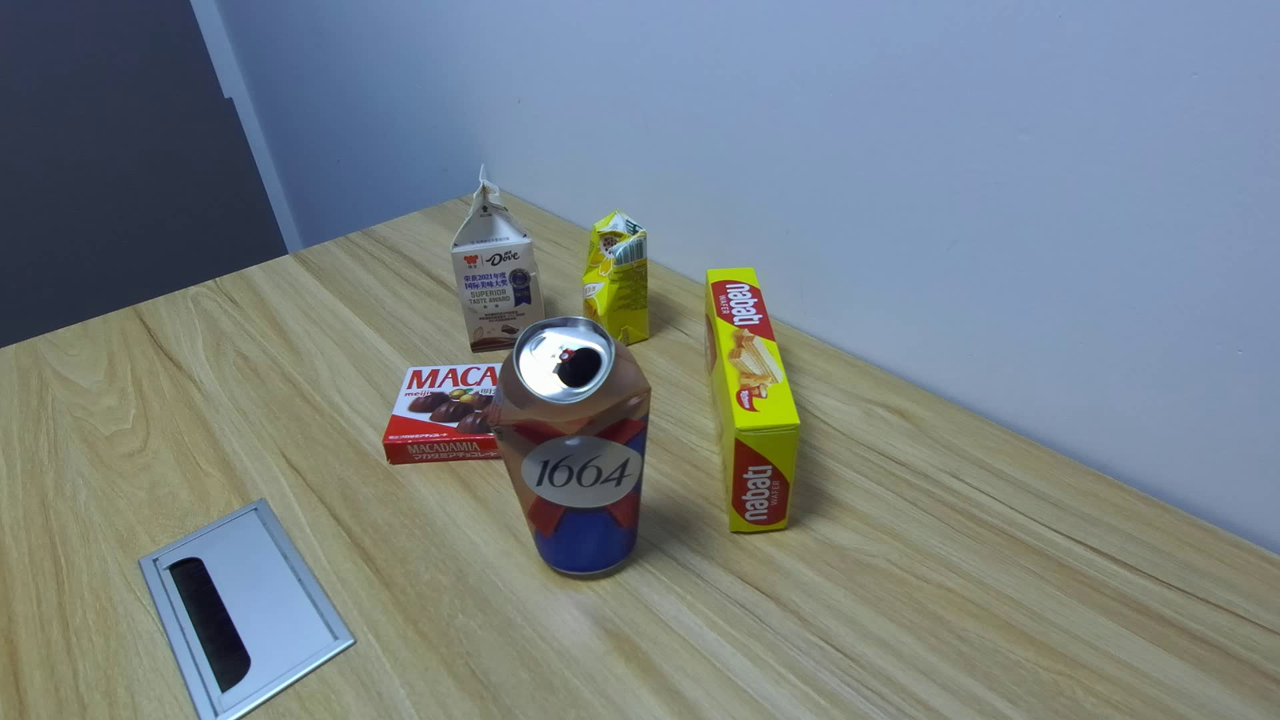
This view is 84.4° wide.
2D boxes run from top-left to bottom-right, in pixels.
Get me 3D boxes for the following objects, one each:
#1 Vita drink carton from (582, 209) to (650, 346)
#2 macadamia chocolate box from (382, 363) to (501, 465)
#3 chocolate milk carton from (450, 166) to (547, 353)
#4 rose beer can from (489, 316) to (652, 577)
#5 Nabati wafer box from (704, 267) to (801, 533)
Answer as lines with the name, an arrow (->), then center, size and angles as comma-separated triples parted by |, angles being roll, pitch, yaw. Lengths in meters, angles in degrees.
Vita drink carton -> -0.025, -0.074, 0.643 | 0.046, 0.110, 0.071 | -16, 36, -21
macadamia chocolate box -> -0.101, 0.039, 0.567 | 0.187, 0.027, 0.102 | -4, 39, -1
chocolate milk carton -> -0.129, -0.095, 0.641 | 0.073, 0.155, 0.084 | -7, 36, -5
rose beer can -> -0.037, 0.055, 0.418 | 0.069, 0.168, 0.069 | 28, 47, 31
Nabati wafer box -> 0.075, 0.019, 0.518 | 0.042, 0.093, 0.202 | -2, 35, 1
